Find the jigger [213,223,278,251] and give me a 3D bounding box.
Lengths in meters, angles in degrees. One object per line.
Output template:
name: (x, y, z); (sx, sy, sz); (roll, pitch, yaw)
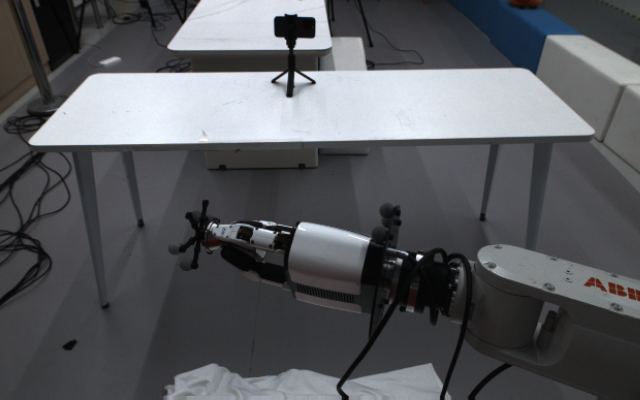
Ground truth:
jigger: (-0.095, 0.045, 0.594); (0.071, 0.043, 0.043); (8, 35, 15)
